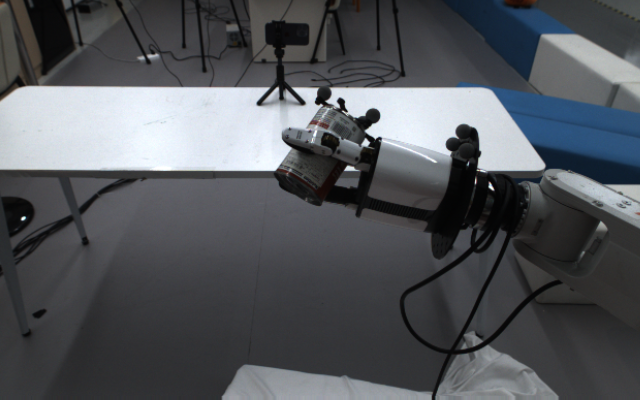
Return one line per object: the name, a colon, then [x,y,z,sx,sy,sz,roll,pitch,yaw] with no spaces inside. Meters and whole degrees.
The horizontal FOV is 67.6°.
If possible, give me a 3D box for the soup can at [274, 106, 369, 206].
soup can: [0.001,-0.054,0.578,0.067,0.067,0.101,27,76,31]
